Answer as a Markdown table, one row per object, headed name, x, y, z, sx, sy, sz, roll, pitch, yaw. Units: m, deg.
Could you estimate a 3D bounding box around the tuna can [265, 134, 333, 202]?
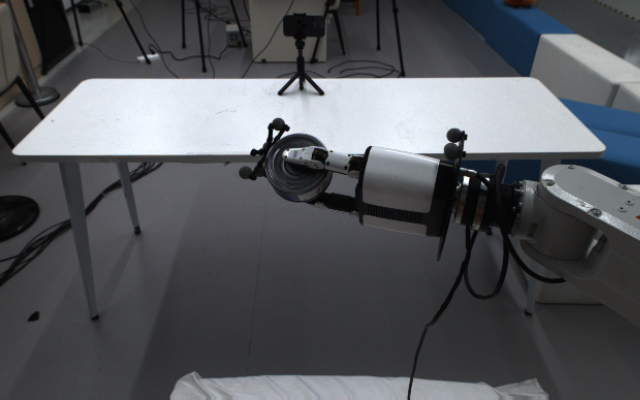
| name | x | y | z | sx | sy | sz | roll | pitch | yaw |
| --- | --- | --- | --- | --- | --- | --- | --- | --- | --- |
| tuna can | -0.024 | -0.039 | 0.623 | 0.085 | 0.034 | 0.085 | -2 | 72 | 5 |
